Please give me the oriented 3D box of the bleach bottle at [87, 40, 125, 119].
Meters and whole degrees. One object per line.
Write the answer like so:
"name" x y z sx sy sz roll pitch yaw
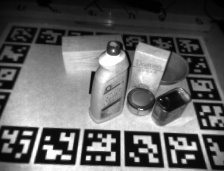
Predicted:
"bleach bottle" -0.021 -0.013 0.564 0.103 0.252 0.067 -19 53 -18

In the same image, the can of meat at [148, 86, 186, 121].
"can of meat" 0.160 0.050 0.642 0.102 0.084 0.057 -22 52 -23

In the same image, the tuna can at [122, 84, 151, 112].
"tuna can" 0.074 0.039 0.667 0.086 0.034 0.085 2 54 -2

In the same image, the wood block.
"wood block" -0.078 -0.128 0.759 0.207 0.090 0.090 -5 56 -10

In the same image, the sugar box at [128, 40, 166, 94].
"sugar box" 0.101 -0.053 0.652 0.092 0.177 0.045 16 54 14

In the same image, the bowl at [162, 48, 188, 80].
"bowl" 0.179 -0.073 0.757 0.161 0.055 0.161 1 50 0
